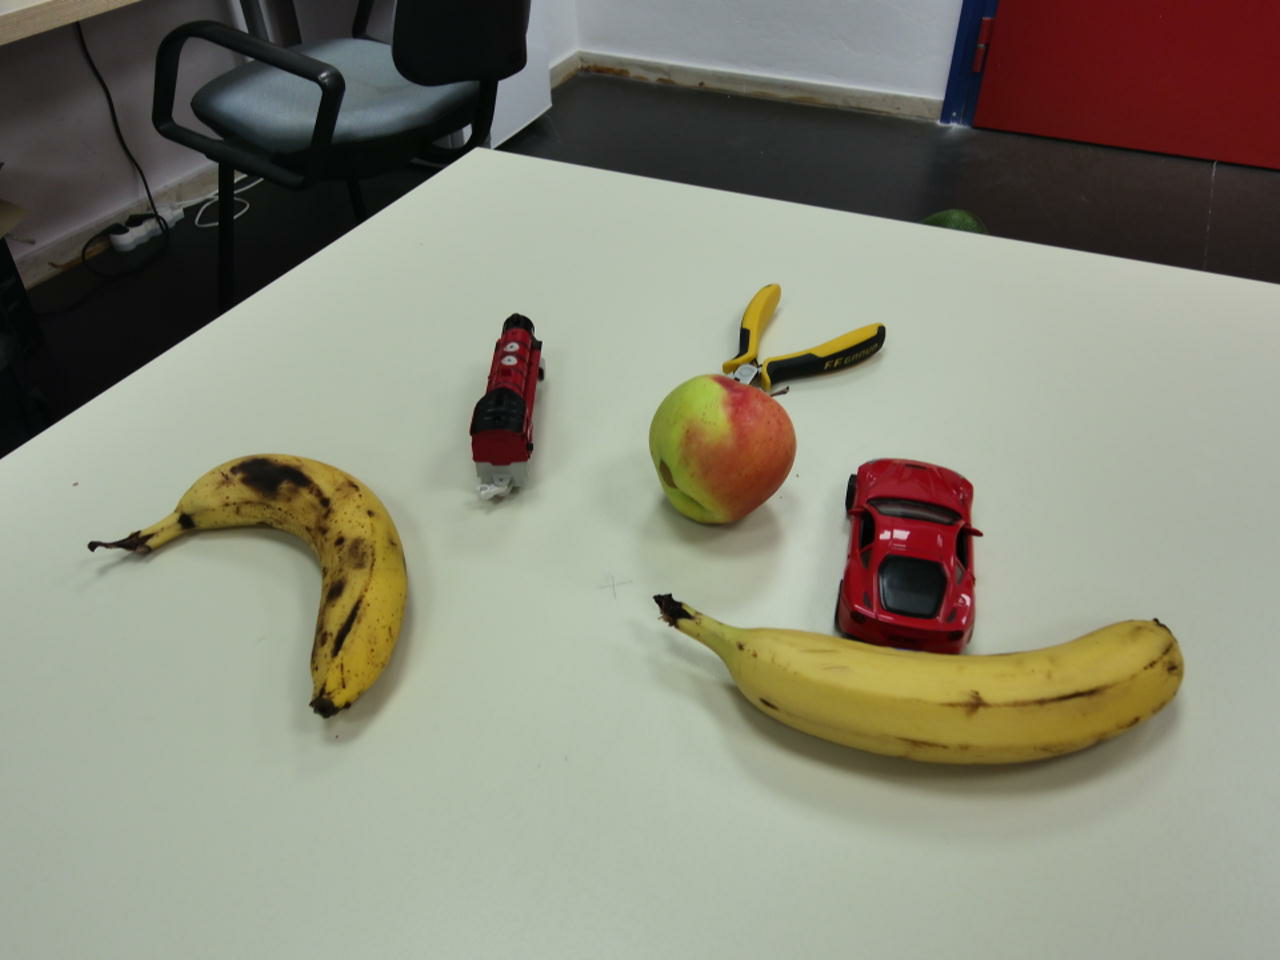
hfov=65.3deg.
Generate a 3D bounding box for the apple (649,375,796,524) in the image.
[{"bbox_3d":[0.041,-0.015,0.522,0.075,0.074,0.075,3,38,5],"label":"apple"}]
